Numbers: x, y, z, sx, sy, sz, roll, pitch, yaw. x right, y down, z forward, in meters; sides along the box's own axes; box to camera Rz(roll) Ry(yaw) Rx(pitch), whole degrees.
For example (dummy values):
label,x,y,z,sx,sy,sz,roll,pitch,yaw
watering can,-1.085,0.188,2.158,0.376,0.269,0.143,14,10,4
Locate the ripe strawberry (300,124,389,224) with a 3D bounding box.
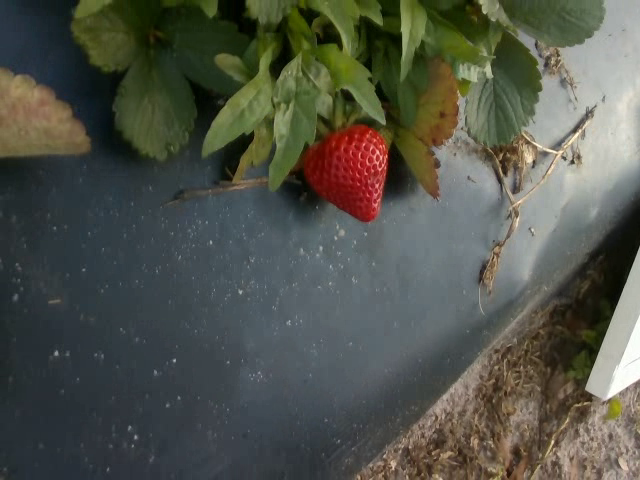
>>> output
label,x,y,z,sx,sy,sz,roll,pitch,yaw
ripe strawberry,0.013,-0.030,0.278,0.043,0.051,0.042,-24,7,-33
